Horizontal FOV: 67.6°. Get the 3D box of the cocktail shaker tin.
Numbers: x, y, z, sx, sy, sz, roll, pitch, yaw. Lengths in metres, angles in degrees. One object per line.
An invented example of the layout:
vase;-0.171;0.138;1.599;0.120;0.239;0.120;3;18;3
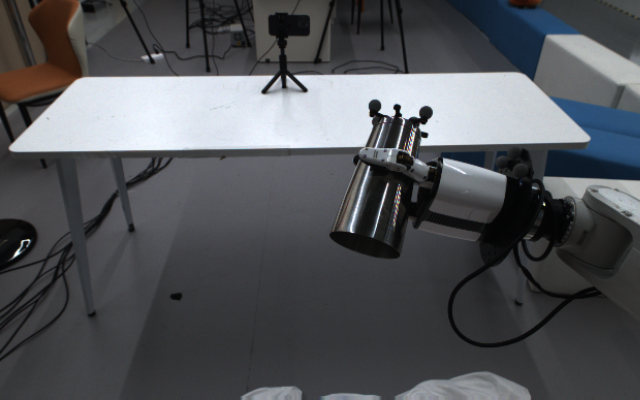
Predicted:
cocktail shaker tin;0.079;-0.020;0.627;0.093;0.093;0.170;13;70;15
